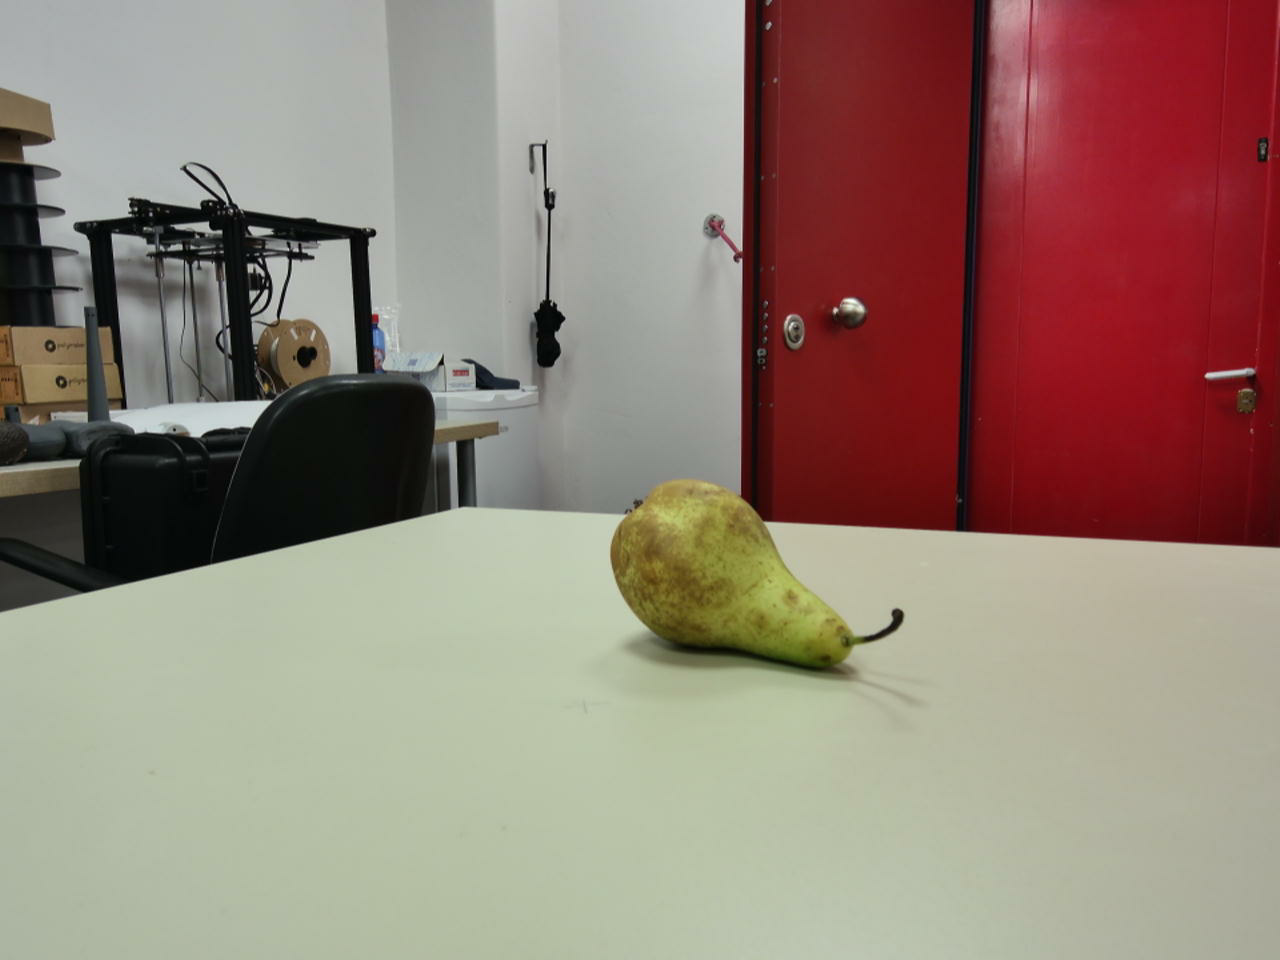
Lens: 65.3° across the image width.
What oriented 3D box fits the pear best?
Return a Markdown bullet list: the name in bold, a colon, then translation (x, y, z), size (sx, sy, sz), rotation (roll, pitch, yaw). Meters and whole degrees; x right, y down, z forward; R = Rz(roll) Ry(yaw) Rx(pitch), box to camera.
- **pear**: translation (0.054, 0.039, 0.435), size (0.144, 0.075, 0.071), rotation (2, 4, 32)
